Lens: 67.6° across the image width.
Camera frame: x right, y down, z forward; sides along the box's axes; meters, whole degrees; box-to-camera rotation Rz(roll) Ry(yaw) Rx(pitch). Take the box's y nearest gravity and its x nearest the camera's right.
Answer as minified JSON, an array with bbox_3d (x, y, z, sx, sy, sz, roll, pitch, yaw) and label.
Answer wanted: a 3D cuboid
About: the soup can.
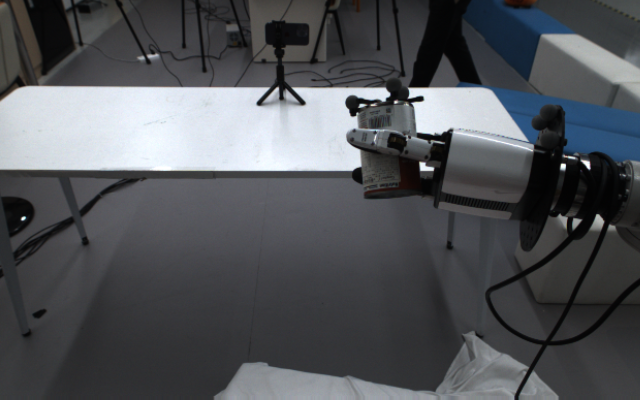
[{"bbox_3d":[0.081,-0.056,0.558,0.067,0.101,0.067,-5,-5,0],"label":"soup can"}]
